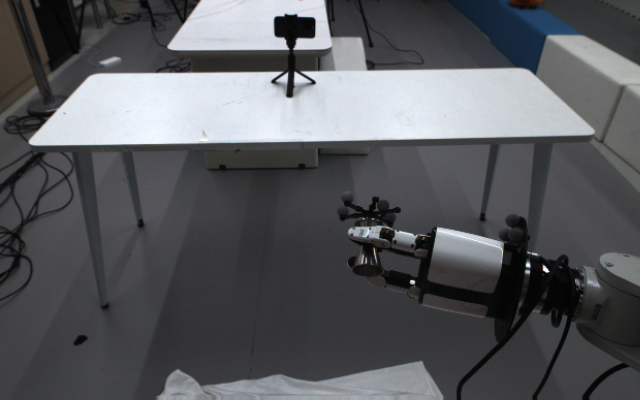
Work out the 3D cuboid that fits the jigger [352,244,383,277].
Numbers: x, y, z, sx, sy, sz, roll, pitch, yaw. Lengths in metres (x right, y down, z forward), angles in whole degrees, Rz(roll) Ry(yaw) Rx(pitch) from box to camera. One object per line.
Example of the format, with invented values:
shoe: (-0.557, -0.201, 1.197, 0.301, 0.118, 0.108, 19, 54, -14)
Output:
jigger: (0.064, 0.060, 0.647, 0.043, 0.043, 0.071, 4, 61, 3)
